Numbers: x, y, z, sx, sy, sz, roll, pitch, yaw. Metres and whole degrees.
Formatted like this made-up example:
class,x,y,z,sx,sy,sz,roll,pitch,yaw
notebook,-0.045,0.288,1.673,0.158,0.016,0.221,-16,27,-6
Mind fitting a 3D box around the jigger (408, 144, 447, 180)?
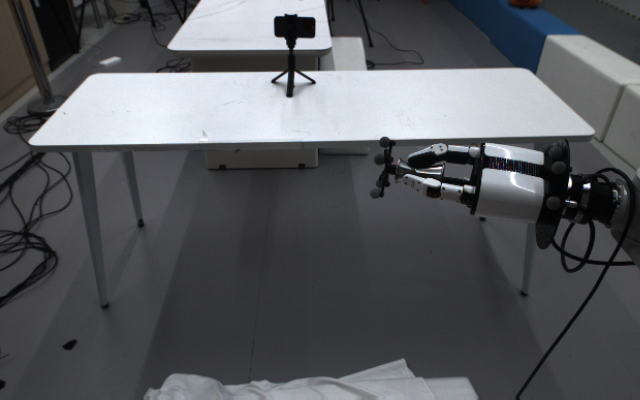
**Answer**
class,x,y,z,sx,sy,sz,roll,pitch,yaw
jigger,0.156,-0.042,0.730,0.071,0.043,0.043,11,36,16
